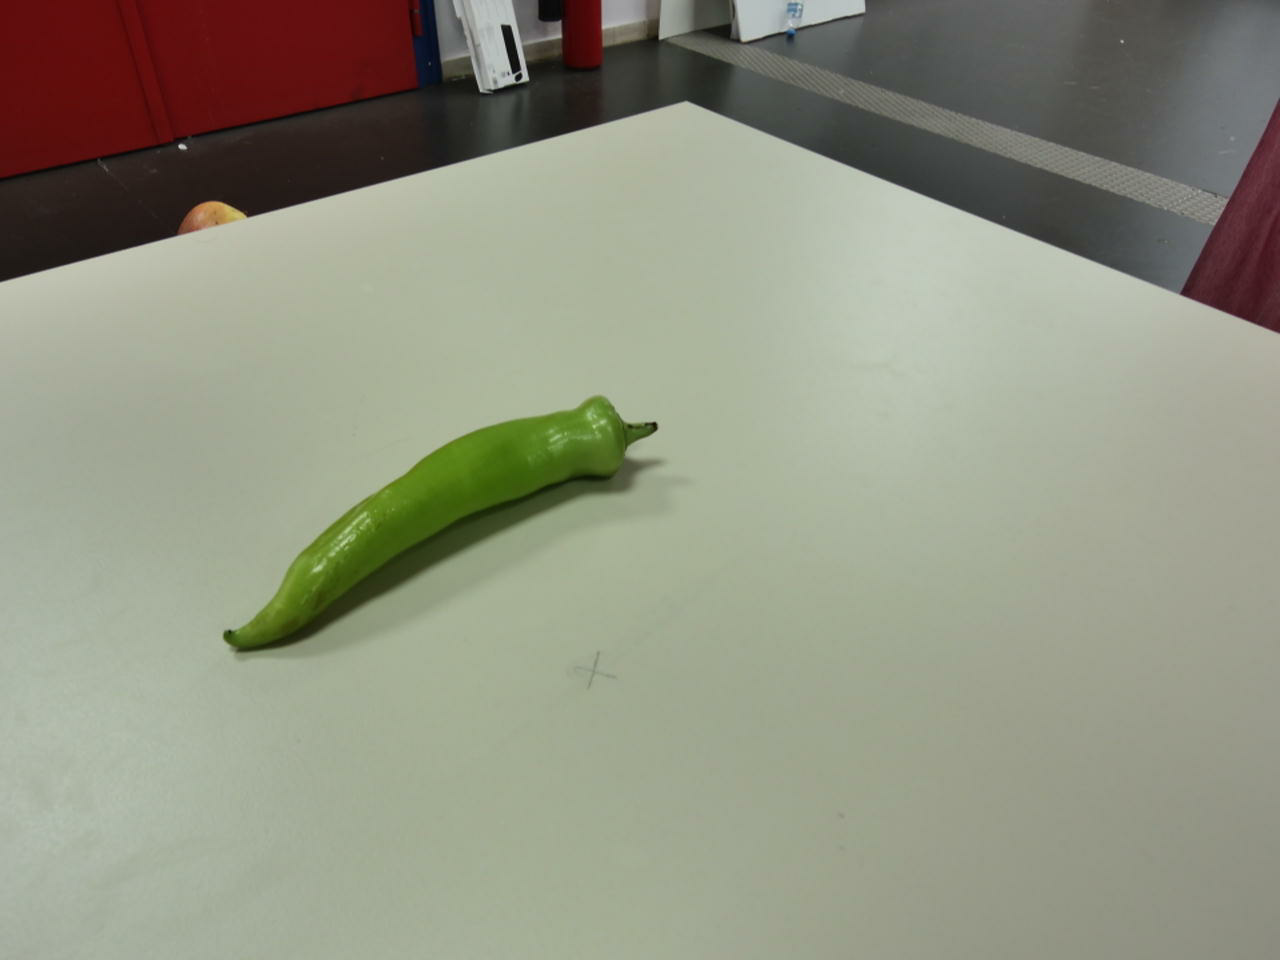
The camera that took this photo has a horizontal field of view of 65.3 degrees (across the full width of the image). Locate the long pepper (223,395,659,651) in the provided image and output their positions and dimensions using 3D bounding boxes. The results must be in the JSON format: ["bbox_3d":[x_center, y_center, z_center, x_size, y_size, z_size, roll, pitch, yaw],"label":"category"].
[{"bbox_3d":[-0.079,0.007,0.409,0.197,0.038,0.047,-24,44,-30],"label":"long pepper"}]
